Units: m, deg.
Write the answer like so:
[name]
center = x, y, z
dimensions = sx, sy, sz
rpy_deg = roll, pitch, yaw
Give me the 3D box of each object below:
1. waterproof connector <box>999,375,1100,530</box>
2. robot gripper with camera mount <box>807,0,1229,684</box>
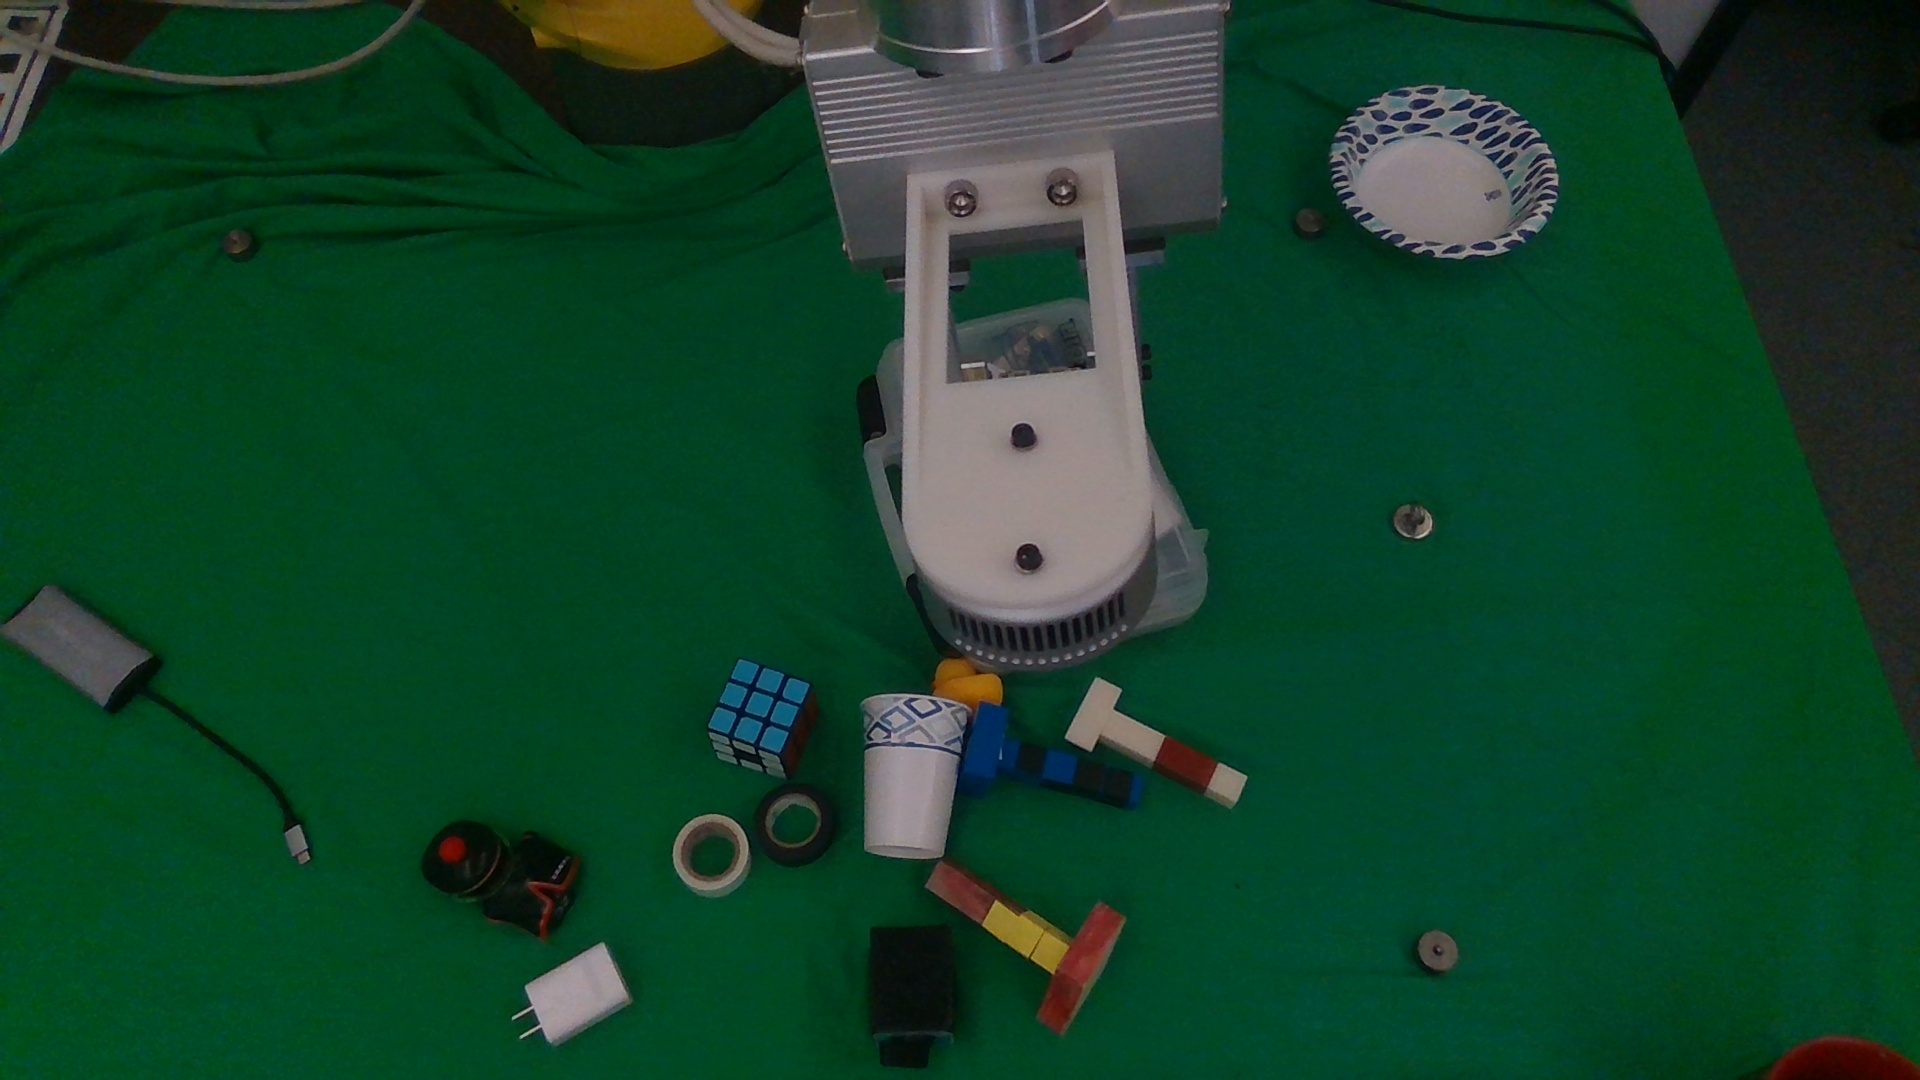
[waterproof connector]
center = 0.034, -0.031, 0.503
dimensions = 0.035, 0.037, 0.065
rpy_deg = -4, 49, 12
[robot gripper with camera mount]
center = 0.037, -0.029, 0.406
dimensions = 0.119, 0.158, 0.193
rpy_deg = -13, 46, 6
